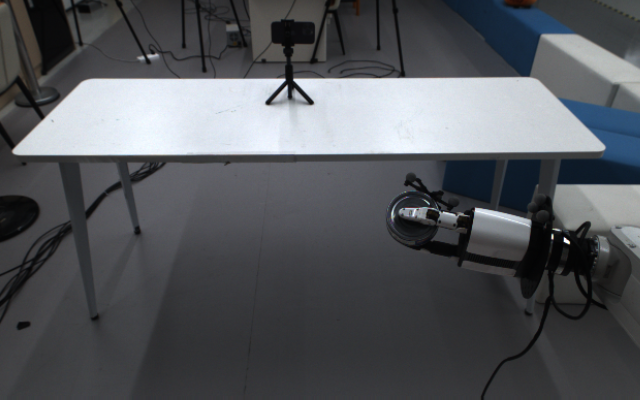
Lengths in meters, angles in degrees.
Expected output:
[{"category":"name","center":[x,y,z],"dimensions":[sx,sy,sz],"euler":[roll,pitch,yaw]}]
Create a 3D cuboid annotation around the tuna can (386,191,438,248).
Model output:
[{"category":"tuna can","center":[0.152,0.035,0.773],"dimensions":[0.085,0.034,0.085],"euler":[-4,69,10]}]
